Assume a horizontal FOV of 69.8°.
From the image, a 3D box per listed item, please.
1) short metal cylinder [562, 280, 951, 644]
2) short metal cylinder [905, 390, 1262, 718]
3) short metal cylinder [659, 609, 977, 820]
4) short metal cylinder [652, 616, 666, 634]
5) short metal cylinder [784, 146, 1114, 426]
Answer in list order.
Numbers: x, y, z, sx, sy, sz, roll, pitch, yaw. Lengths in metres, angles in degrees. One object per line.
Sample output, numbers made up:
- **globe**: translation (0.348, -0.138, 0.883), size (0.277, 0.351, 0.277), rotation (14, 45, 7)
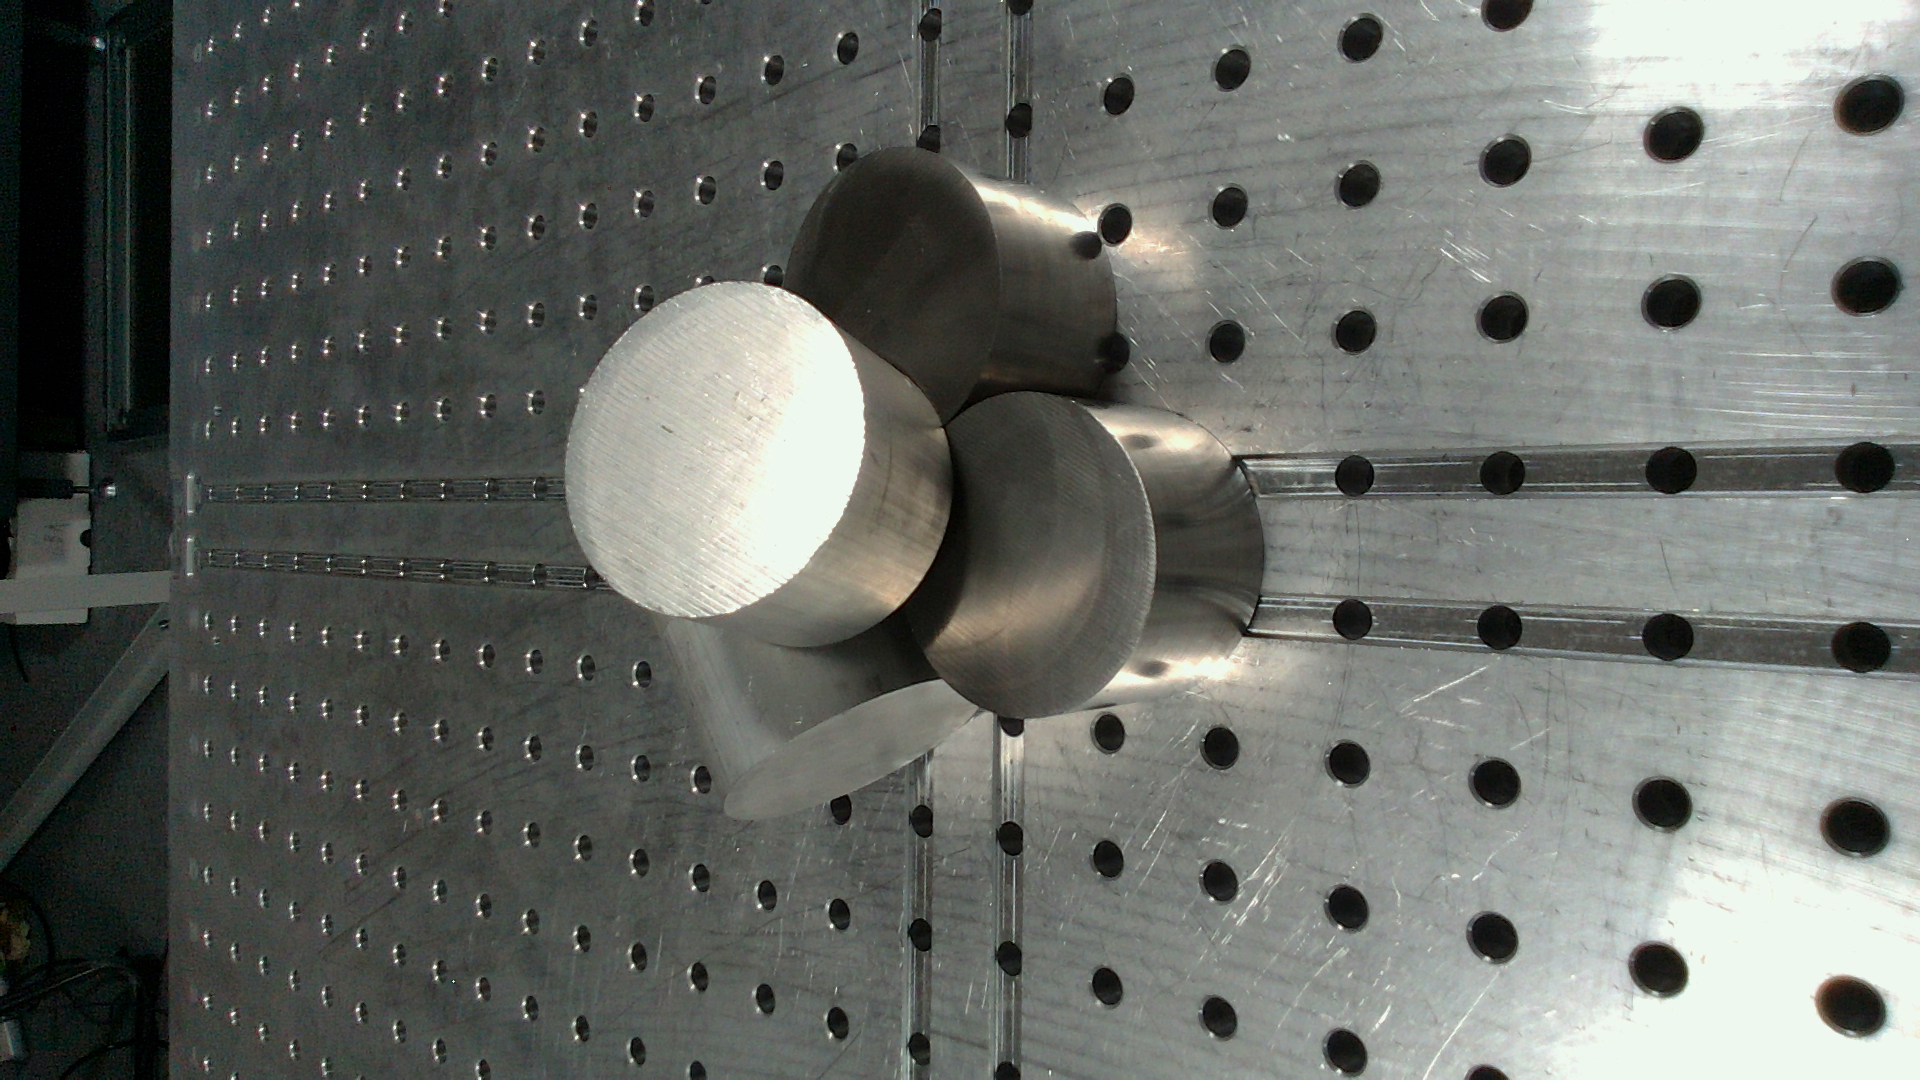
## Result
- **short metal cylinder**: translation (-0.049, -0.017, 0.338), size (0.080, 0.050, 0.080), rotation (-5, 76, 21)
- **short metal cylinder**: translation (0.030, 0.003, 0.355), size (0.080, 0.050, 0.080), rotation (0, 90, 40)
- **short metal cylinder**: translation (-0.039, 0.039, 0.395), size (0.080, 0.080, 0.050), rotation (-42, 65, 32)
- **short metal cylinder**: translation (-0.060, -0.004, 0.412), size (0.080, 0.080, 0.050), rotation (-42, 65, 32)
- **short metal cylinder**: translation (-0.004, -0.064, 0.384), size (0.080, 0.050, 0.080), rotation (0, 90, 40)
